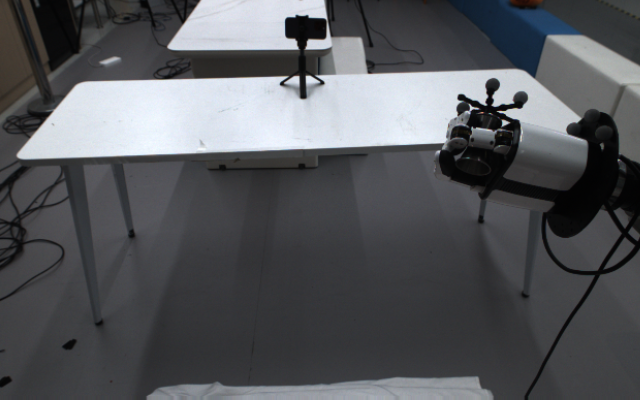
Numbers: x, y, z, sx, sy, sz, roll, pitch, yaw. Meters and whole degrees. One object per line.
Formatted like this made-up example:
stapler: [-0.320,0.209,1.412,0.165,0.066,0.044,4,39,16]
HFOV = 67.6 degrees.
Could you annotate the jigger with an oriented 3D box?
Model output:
jigger: [0.203,-0.073,0.609,0.043,0.043,0.071,15,70,18]
